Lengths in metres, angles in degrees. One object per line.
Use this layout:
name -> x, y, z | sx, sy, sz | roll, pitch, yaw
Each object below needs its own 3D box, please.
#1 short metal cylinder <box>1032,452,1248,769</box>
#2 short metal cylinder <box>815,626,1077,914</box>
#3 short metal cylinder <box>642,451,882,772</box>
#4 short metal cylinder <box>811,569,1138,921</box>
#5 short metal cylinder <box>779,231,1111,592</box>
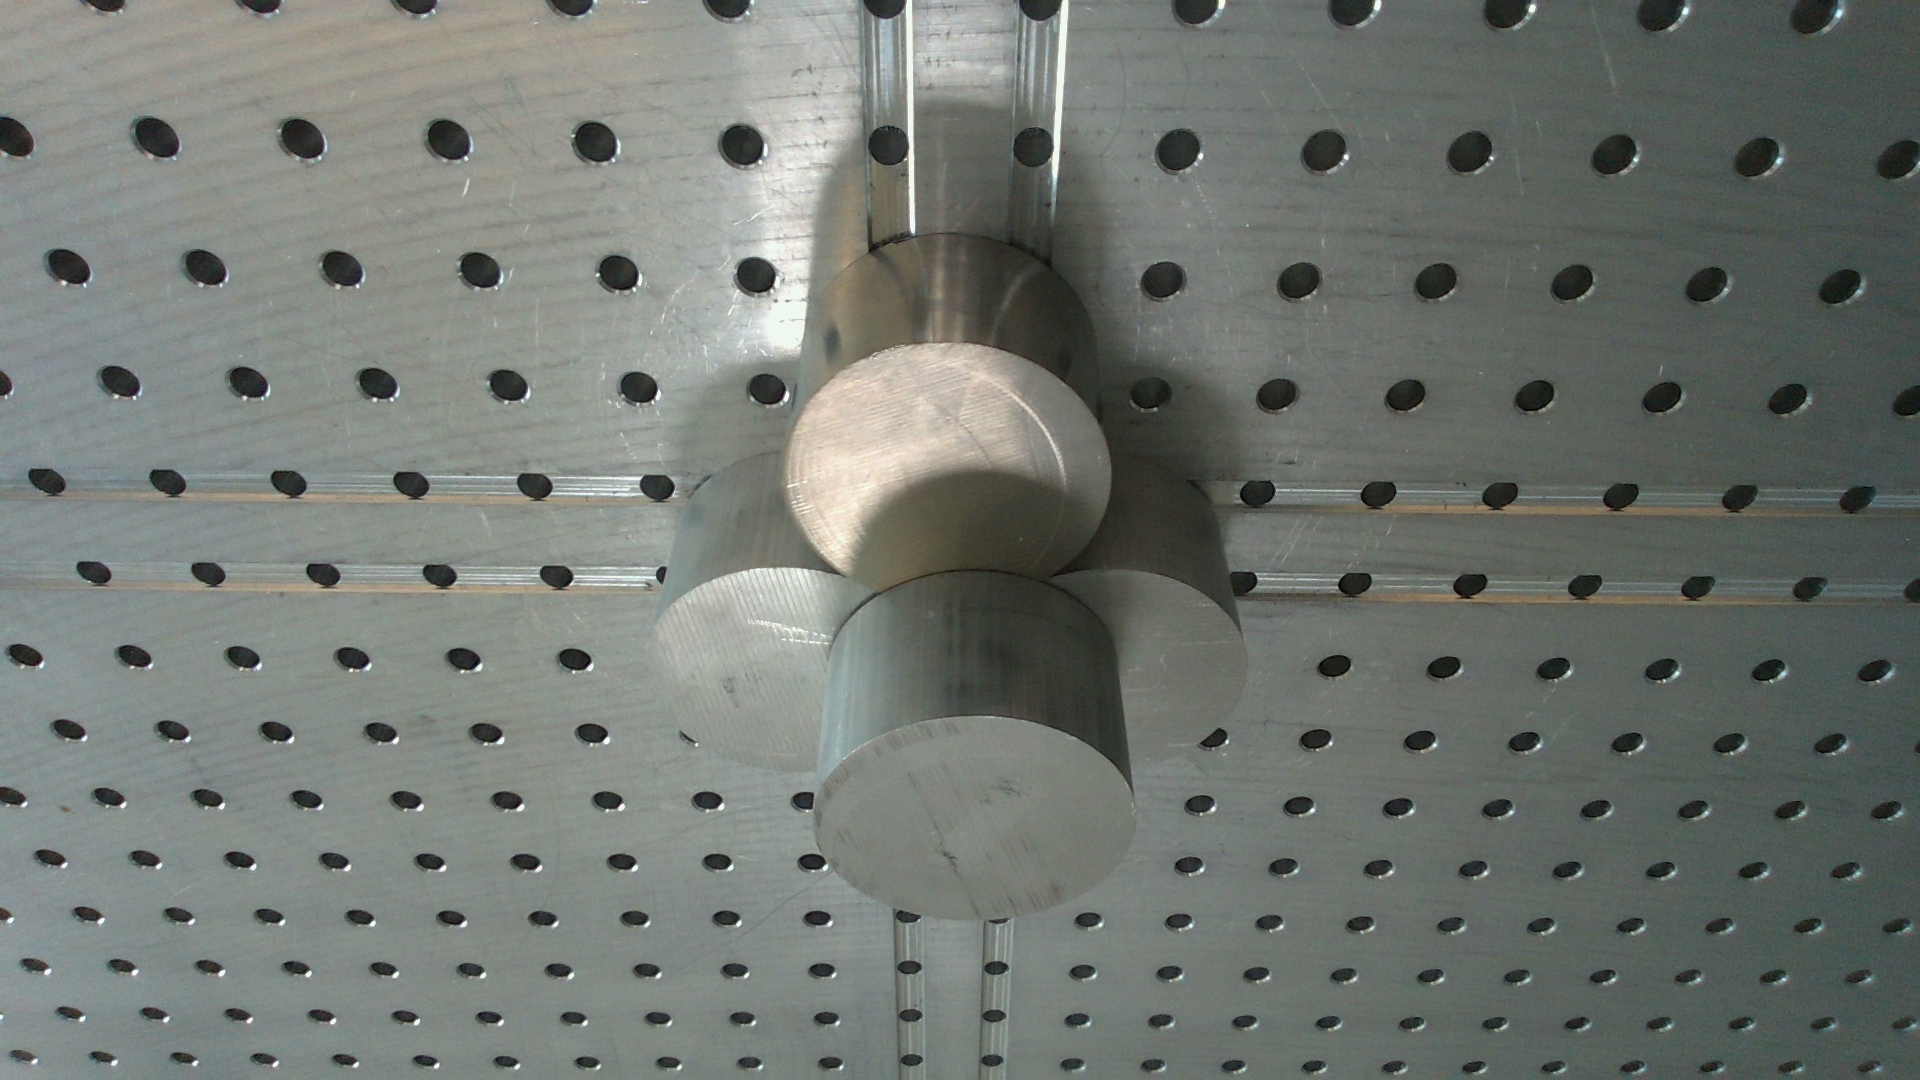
short metal cylinder -> 0.039, 0.022, 0.395 | 0.080, 0.050, 0.080 | 0, 130, 0
short metal cylinder -> -0.004, 0.074, 0.439 | 0.080, 0.050, 0.080 | 0, 128, 0
short metal cylinder -> -0.046, 0.021, 0.395 | 0.080, 0.050, 0.080 | 0, 130, 0
short metal cylinder -> 0.004, 0.054, 0.357 | 0.080, 0.050, 0.080 | 0, 130, 0
short metal cylinder -> -0.004, -0.031, 0.351 | 0.080, 0.050, 0.080 | -1, 130, -1
